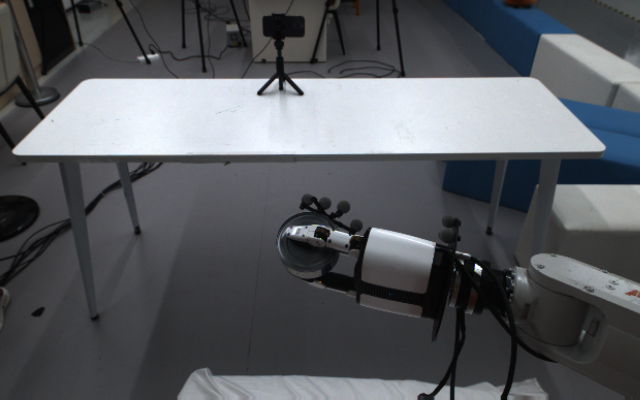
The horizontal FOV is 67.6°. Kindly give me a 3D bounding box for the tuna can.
[{"bbox_3d":[-0.014,0.060,0.650,0.085,0.034,0.085,-2,60,3],"label":"tuna can"}]
